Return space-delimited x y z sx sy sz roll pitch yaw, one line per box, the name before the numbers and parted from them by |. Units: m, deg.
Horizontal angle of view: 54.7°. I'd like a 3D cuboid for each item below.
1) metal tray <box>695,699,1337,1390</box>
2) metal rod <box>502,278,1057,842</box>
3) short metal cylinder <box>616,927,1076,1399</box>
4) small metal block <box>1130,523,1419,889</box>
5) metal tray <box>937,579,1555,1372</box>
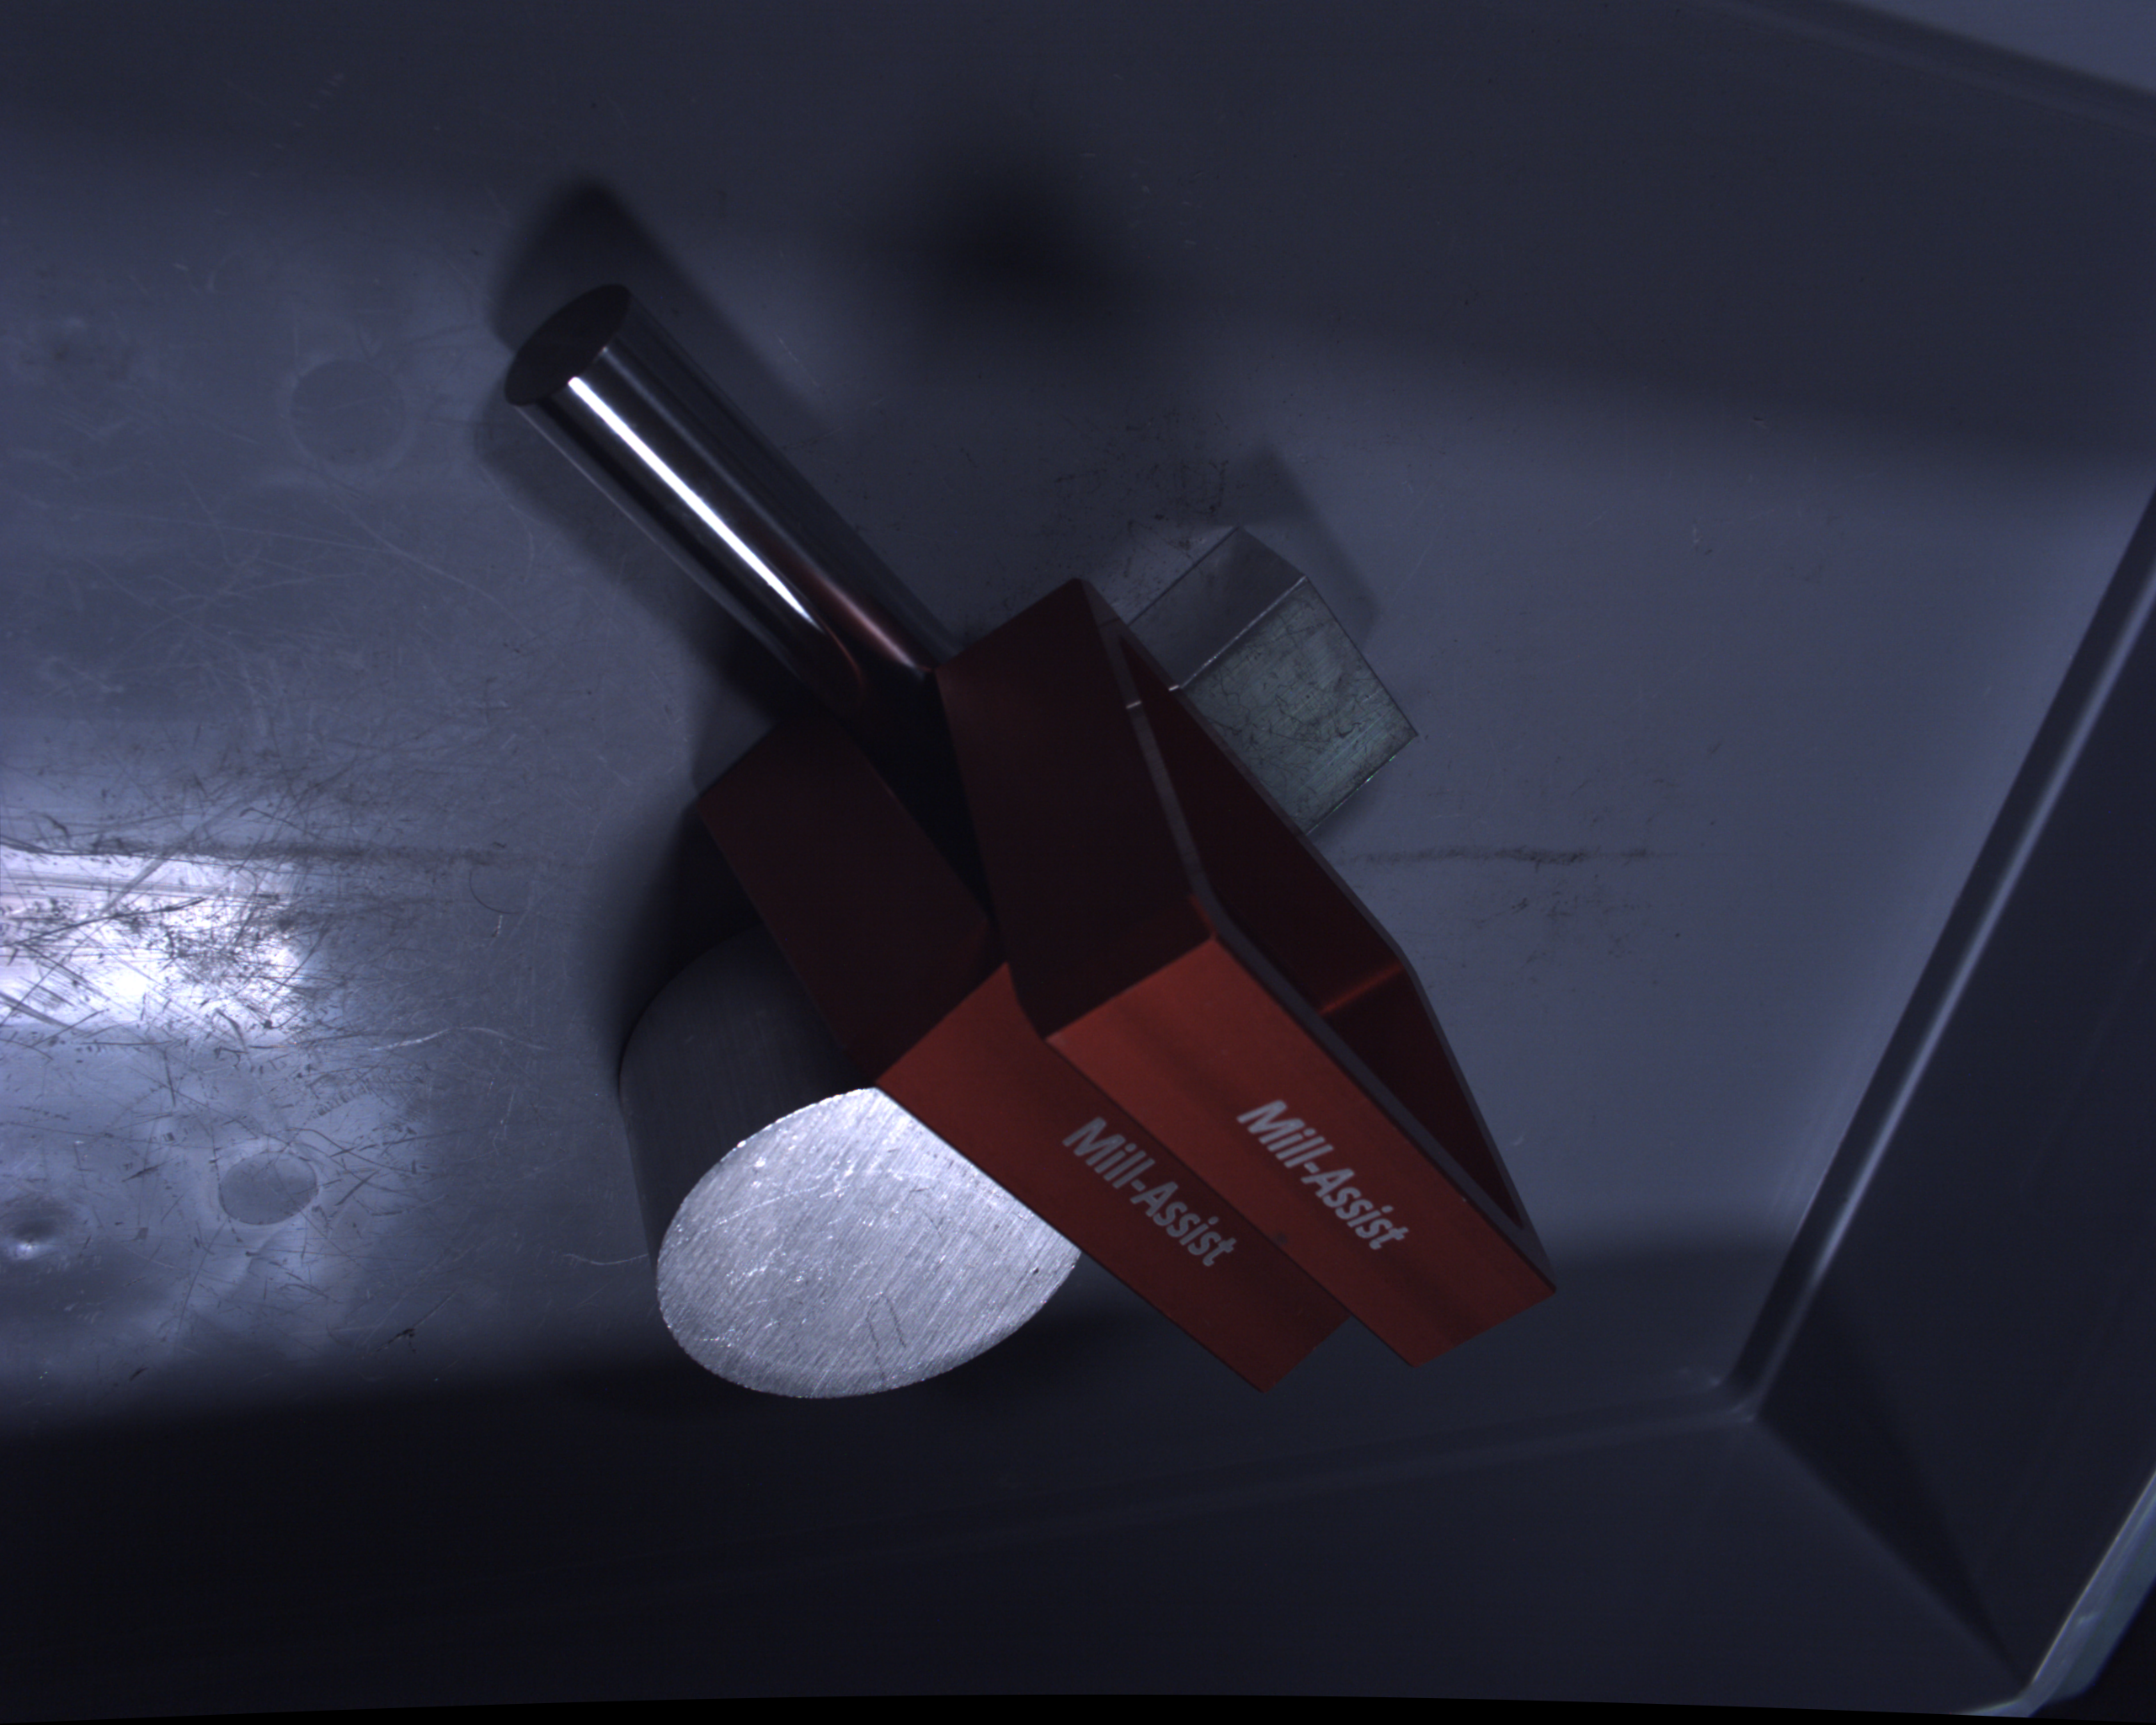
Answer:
metal tray | -0.006 0.035 0.384 0.030 0.090 0.130 -43 130 1
metal rod | 0.003 0.002 0.413 0.025 0.025 0.300 -43 130 1
short metal cylinder | -0.043 0.055 0.395 0.081 0.050 0.079 -11 129 -14
small metal block | 0.031 -0.029 0.407 0.050 0.025 0.050 -42 130 0
metal tray | 0.031 0.022 0.364 0.030 0.090 0.130 -32 131 14
